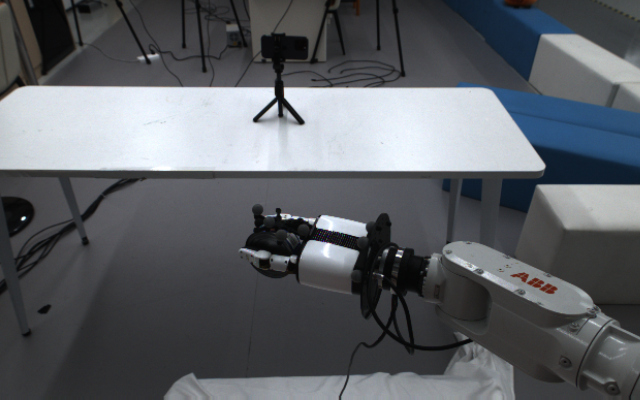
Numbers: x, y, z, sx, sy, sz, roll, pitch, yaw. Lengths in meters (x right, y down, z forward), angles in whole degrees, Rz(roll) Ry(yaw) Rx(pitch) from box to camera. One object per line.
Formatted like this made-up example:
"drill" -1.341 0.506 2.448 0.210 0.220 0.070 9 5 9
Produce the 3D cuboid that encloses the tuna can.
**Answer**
"tuna can" -0.071 0.078 0.761 0.085 0.085 0.034 16 29 19
